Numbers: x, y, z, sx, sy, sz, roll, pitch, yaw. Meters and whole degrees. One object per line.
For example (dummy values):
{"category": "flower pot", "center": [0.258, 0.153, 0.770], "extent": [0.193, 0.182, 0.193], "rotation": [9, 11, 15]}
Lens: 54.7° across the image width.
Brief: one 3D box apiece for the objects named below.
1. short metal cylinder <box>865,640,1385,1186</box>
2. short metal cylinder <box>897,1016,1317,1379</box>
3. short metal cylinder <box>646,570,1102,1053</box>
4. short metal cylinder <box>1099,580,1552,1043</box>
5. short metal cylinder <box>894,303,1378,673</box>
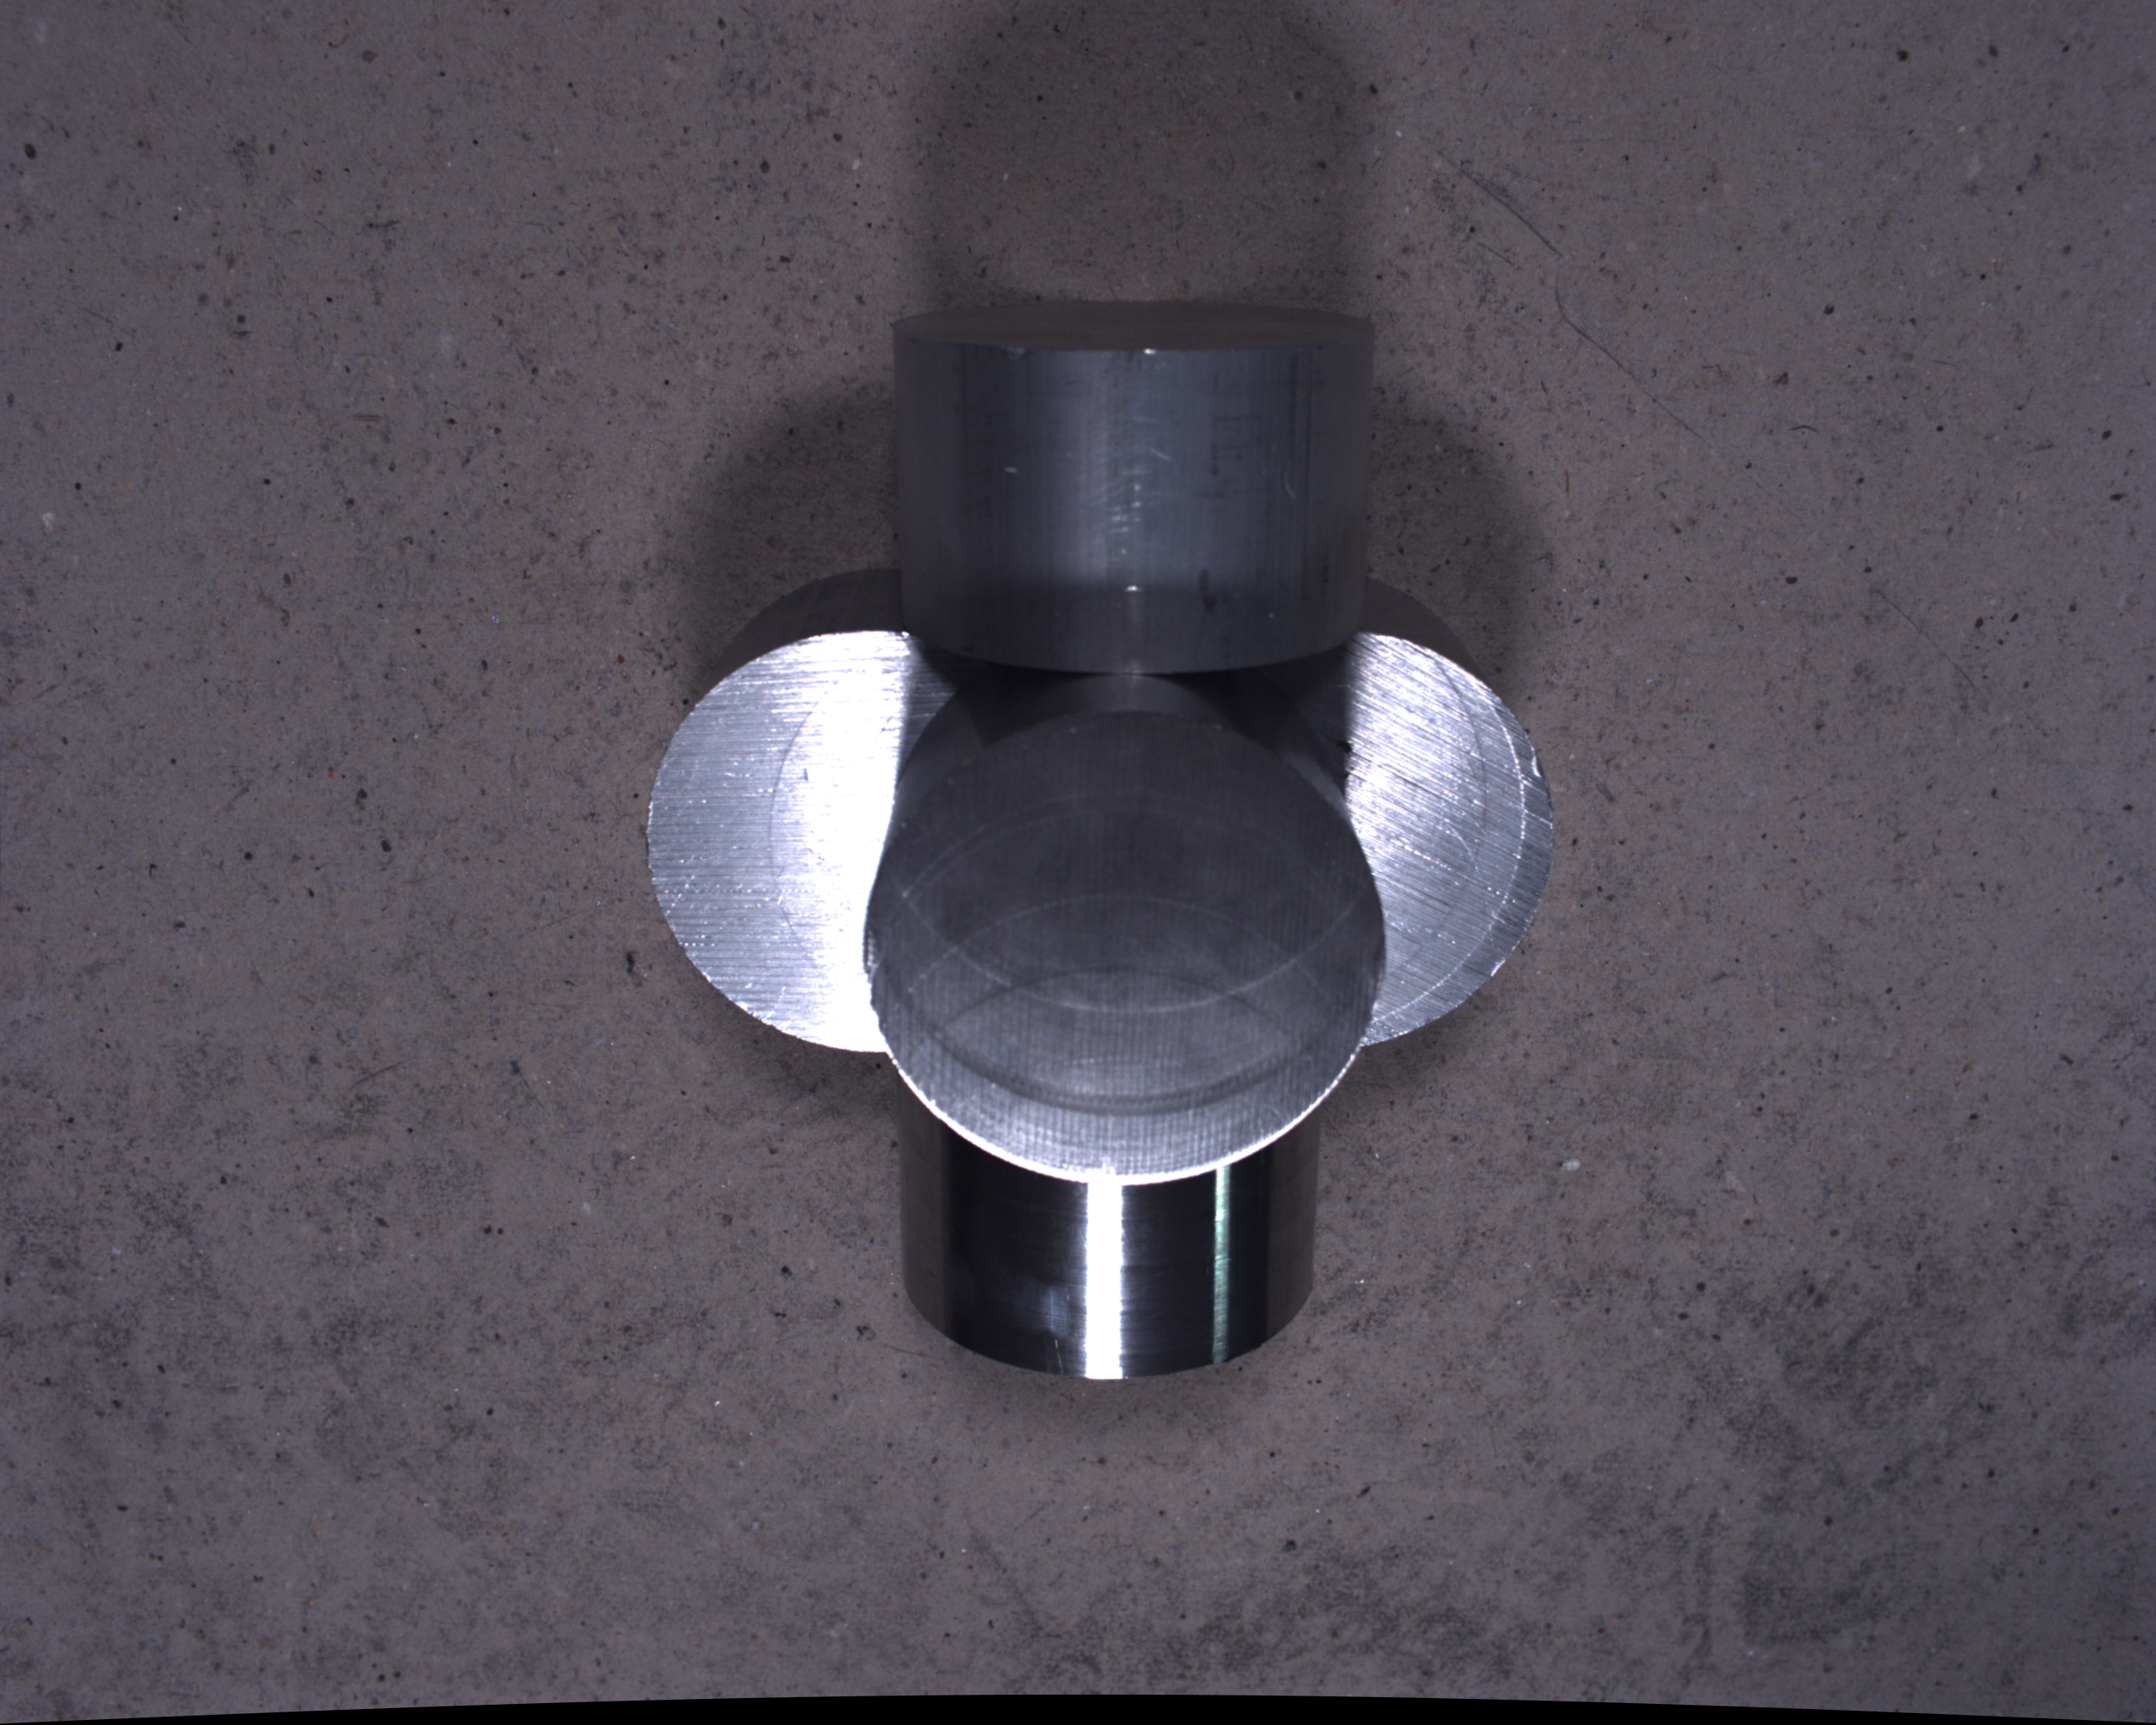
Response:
{"category": "short metal cylinder", "center": [0.007, 0.006, 0.346], "extent": [0.081, 0.050, 0.079], "rotation": [0, 110, -1]}
{"category": "short metal cylinder", "center": [0.006, 0.055, 0.403], "extent": [0.081, 0.080, 0.050], "rotation": [0, 110, -1]}
{"category": "short metal cylinder", "center": [-0.036, -0.011, 0.393], "extent": [0.081, 0.050, 0.079], "rotation": [0, 110, -1]}
{"category": "short metal cylinder", "center": [0.044, -0.011, 0.394], "extent": [0.081, 0.050, 0.079], "rotation": [0, 110, -1]}
{"category": "short metal cylinder", "center": [0.010, -0.067, 0.358], "extent": [0.081, 0.080, 0.050], "rotation": [0, 110, -1]}
